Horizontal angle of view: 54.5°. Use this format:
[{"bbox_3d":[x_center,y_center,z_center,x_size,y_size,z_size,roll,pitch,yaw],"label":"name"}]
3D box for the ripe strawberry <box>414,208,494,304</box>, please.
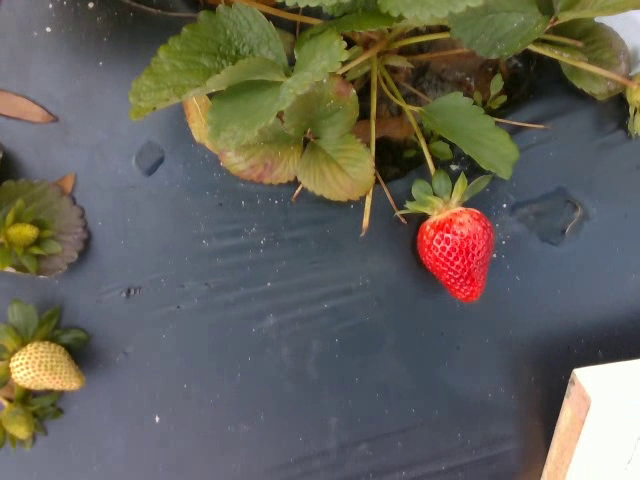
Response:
[{"bbox_3d":[0.059,0.005,0.257,0.036,0.046,0.040,-13,-12,14],"label":"ripe strawberry"}]
